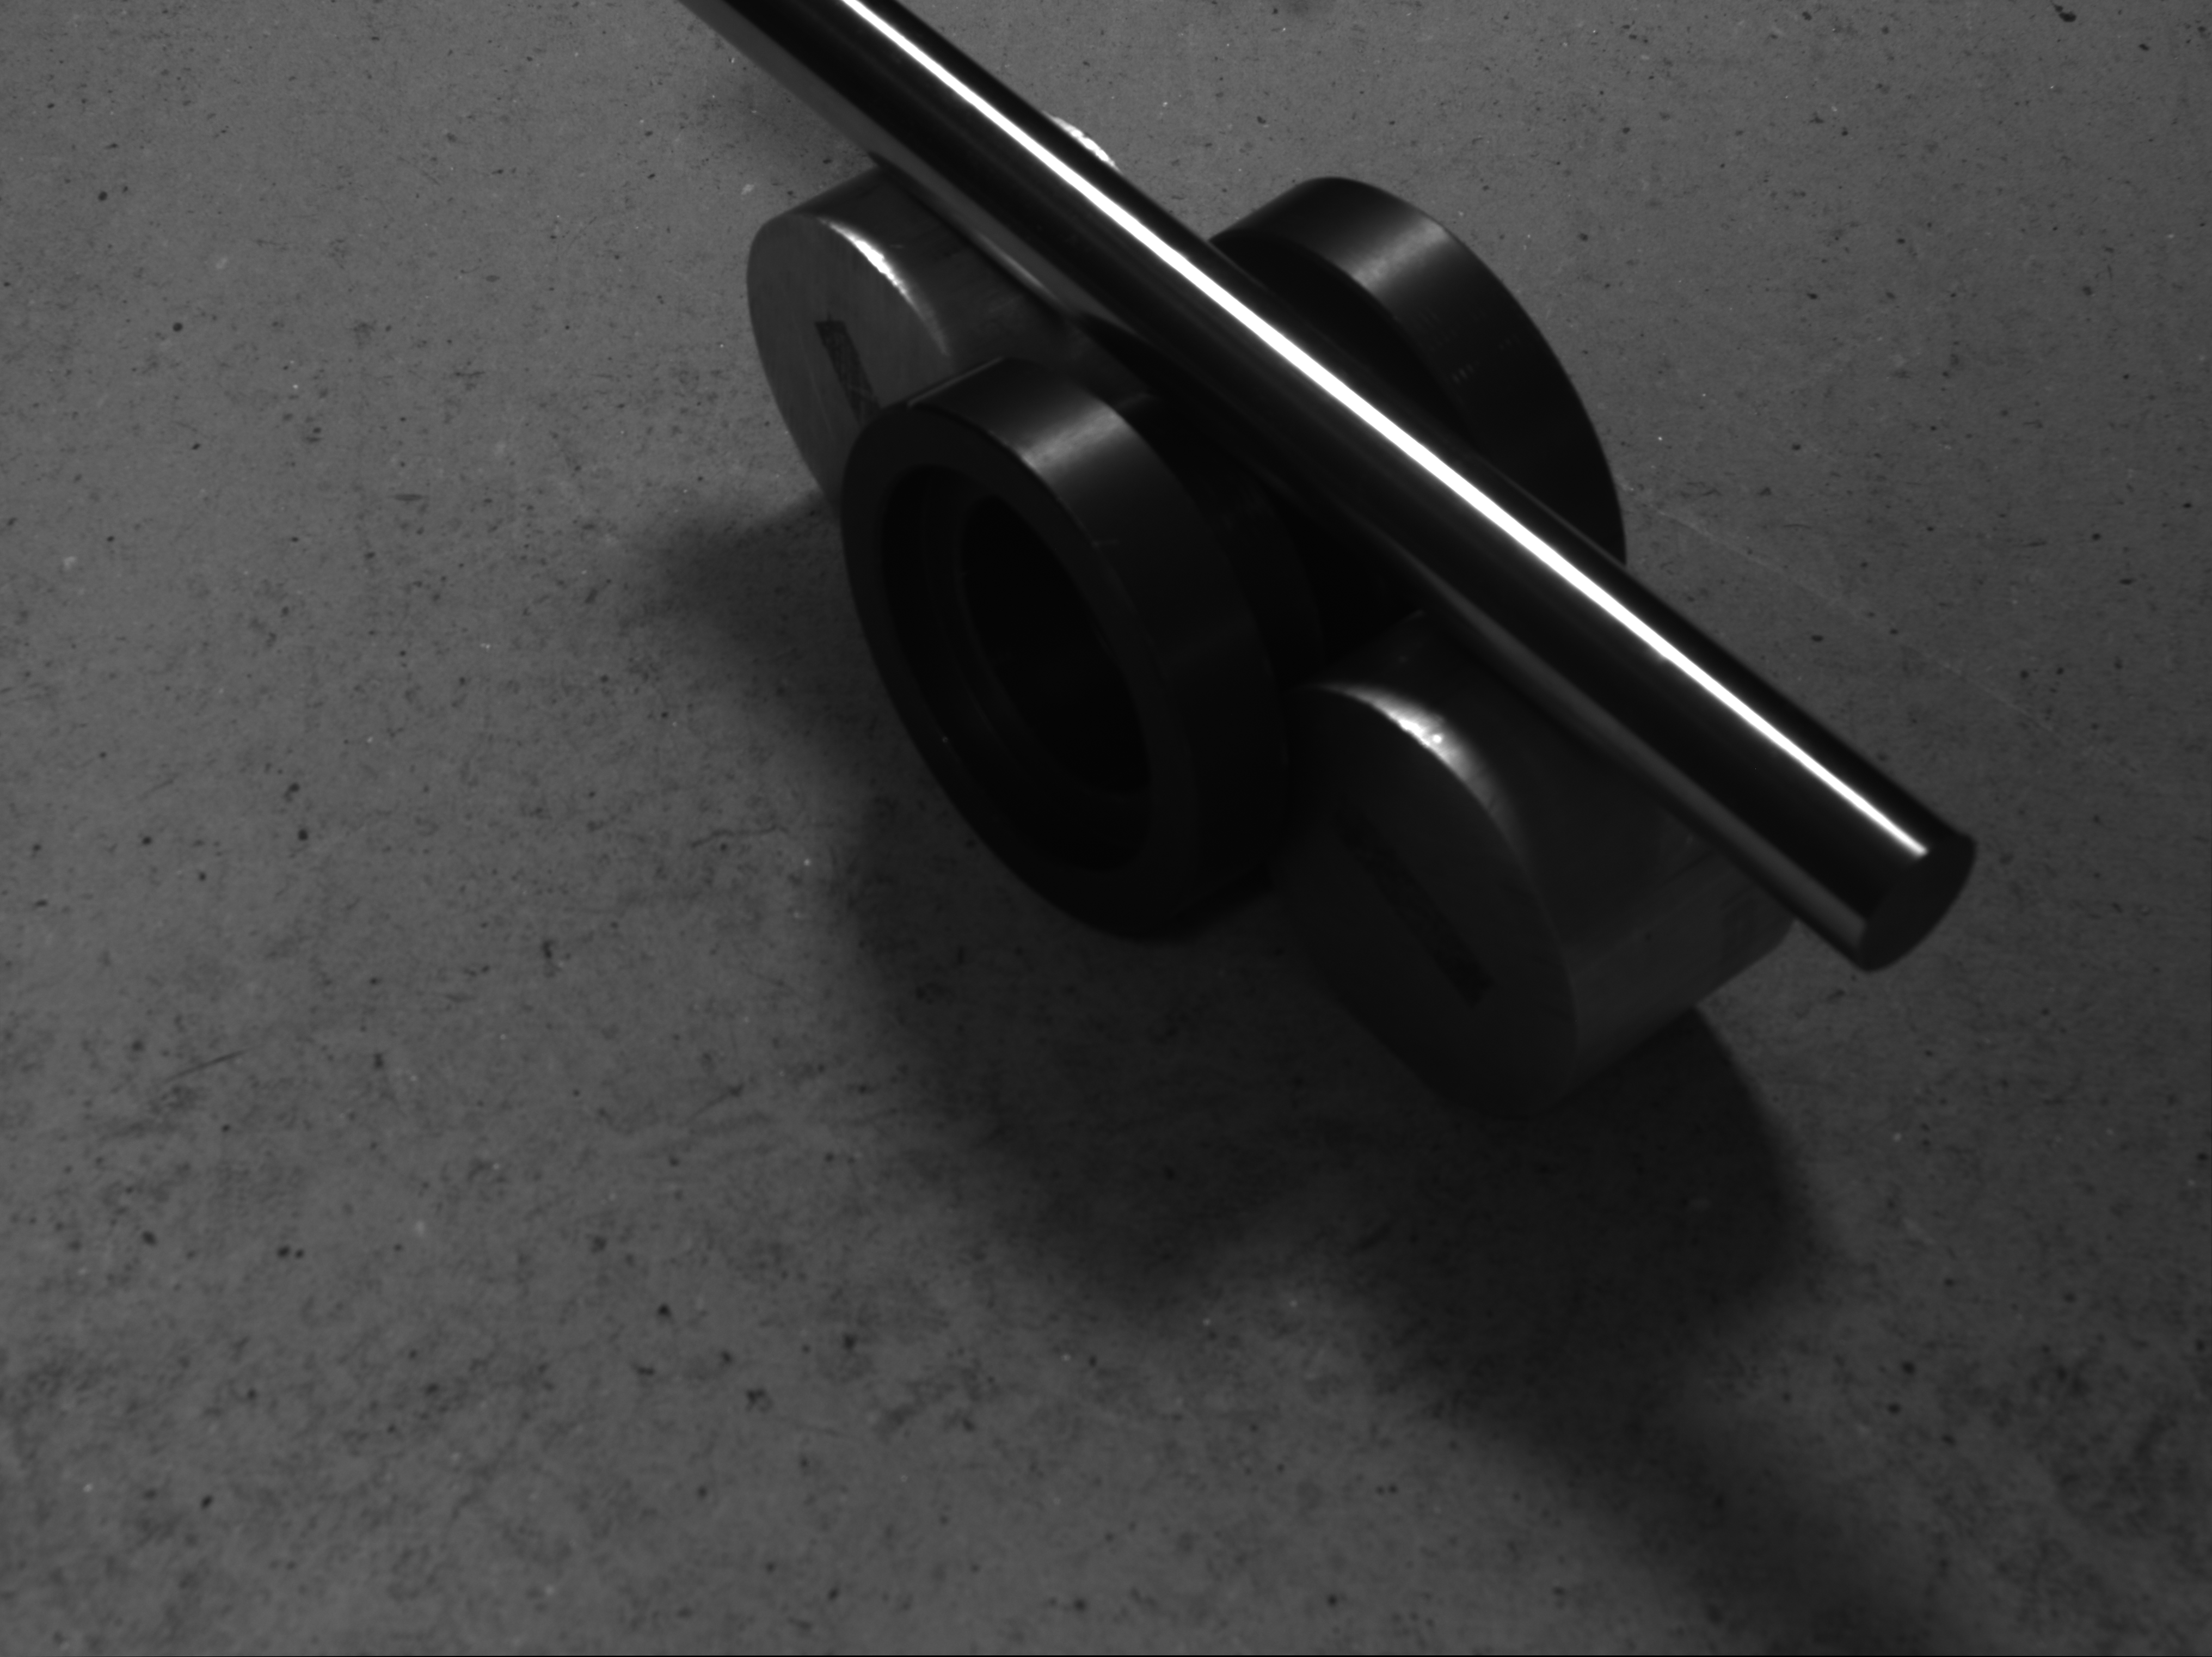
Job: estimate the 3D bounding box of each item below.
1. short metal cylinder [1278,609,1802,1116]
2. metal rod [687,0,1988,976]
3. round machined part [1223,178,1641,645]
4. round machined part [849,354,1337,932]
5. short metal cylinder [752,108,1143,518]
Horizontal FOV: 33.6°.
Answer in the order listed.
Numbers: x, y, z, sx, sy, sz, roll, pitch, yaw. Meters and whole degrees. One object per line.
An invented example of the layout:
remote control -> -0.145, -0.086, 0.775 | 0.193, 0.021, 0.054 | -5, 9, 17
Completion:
short metal cylinder -> 0.070, 0.000, 0.606 | 0.050, 0.080, 0.080 | -32, 57, -24
metal rod -> 0.023, -0.077, 0.603 | 0.025, 0.025, 0.299 | -32, 57, -24
round machined part -> 0.046, -0.061, 0.647 | 0.042, 0.098, 0.098 | -34, 58, -20
round machined part -> 0.002, -0.035, 0.623 | 0.042, 0.098, 0.098 | -29, 56, -27
short metal cylinder -> -0.022, -0.088, 0.680 | 0.050, 0.080, 0.080 | -32, 57, -24
